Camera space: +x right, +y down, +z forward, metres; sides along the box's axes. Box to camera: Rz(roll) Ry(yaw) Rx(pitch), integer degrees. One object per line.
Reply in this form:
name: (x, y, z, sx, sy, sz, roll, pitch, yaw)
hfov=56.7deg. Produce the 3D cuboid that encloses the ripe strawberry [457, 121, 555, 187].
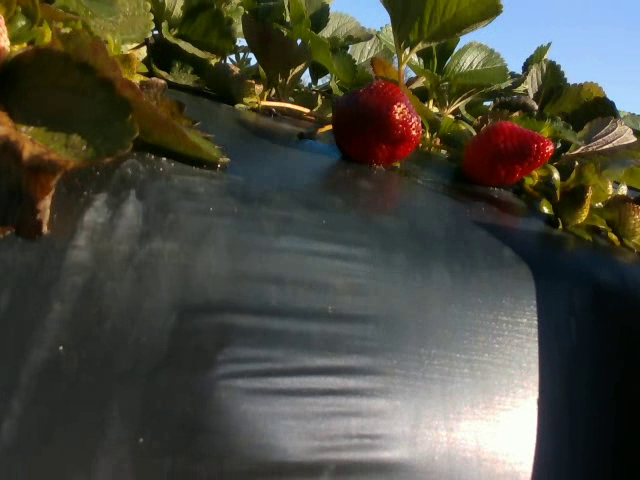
ripe strawberry: (0.096, -0.043, 0.294, 0.042, 0.039, 0.049, -34, 17, -28)

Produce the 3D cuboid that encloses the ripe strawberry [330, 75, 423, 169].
ripe strawberry: (0.028, -0.056, 0.270, 0.050, 0.045, 0.050, 28, -9, -7)
